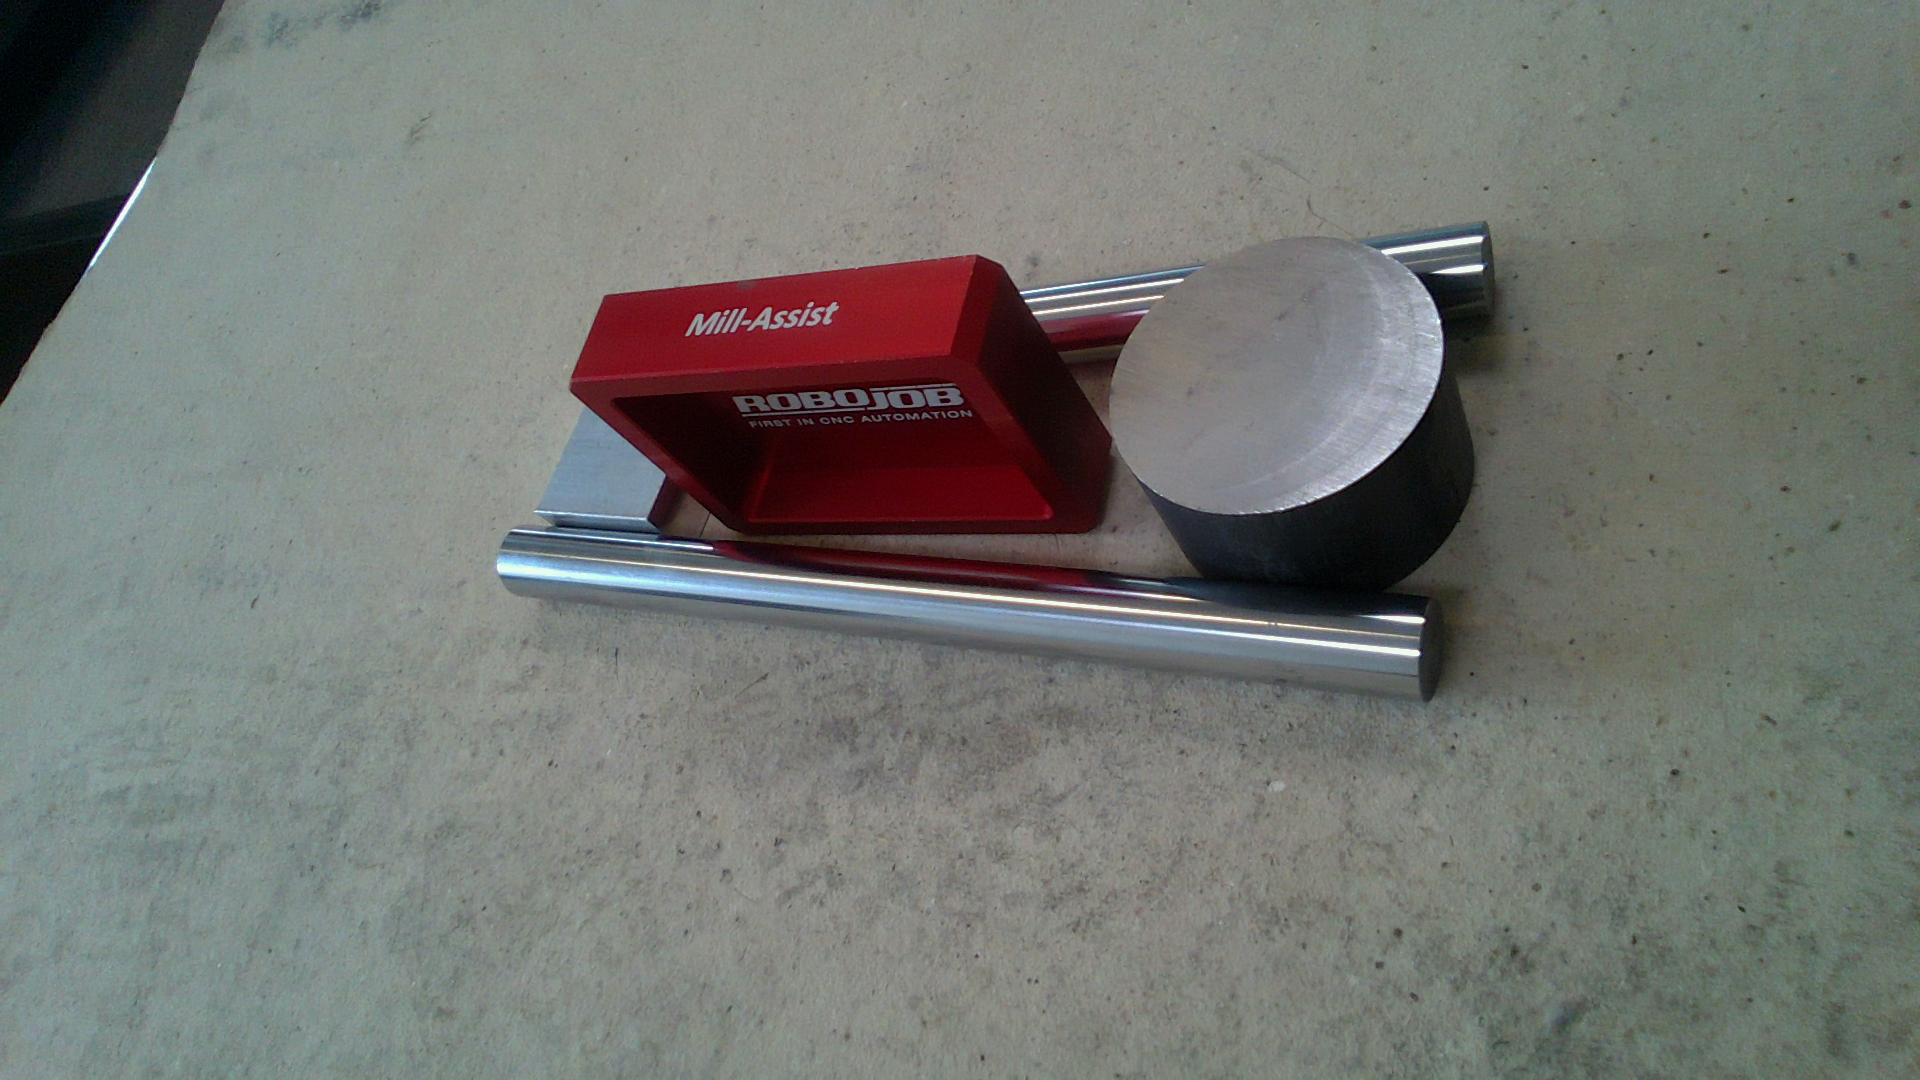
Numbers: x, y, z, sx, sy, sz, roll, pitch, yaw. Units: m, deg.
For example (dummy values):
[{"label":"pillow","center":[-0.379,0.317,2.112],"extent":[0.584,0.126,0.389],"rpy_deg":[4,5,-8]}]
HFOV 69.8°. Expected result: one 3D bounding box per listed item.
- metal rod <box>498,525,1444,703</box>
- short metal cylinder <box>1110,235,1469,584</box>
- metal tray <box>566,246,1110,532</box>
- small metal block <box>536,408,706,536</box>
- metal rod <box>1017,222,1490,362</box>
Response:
[{"label":"metal rod","center":[-0.019,0.016,0.395],"extent":[0.299,0.025,0.025],"rpy_deg":[4,64,30]},{"label":"short metal cylinder","center":[0.084,-0.030,0.350],"extent":[0.080,0.050,0.080],"rpy_deg":[-13,56,21]},{"label":"metal tray","center":[-0.033,-0.037,0.391],"extent":[0.130,0.090,0.030],"rpy_deg":[0,61,29]},{"label":"small metal block","center":[-0.108,-0.024,0.468],"extent":[0.050,0.025,0.050],"rpy_deg":[4,64,30]},{"label":"metal rod","center":[0.006,-0.065,0.431],"extent":[0.299,0.025,0.025],"rpy_deg":[-3,60,27]}]
